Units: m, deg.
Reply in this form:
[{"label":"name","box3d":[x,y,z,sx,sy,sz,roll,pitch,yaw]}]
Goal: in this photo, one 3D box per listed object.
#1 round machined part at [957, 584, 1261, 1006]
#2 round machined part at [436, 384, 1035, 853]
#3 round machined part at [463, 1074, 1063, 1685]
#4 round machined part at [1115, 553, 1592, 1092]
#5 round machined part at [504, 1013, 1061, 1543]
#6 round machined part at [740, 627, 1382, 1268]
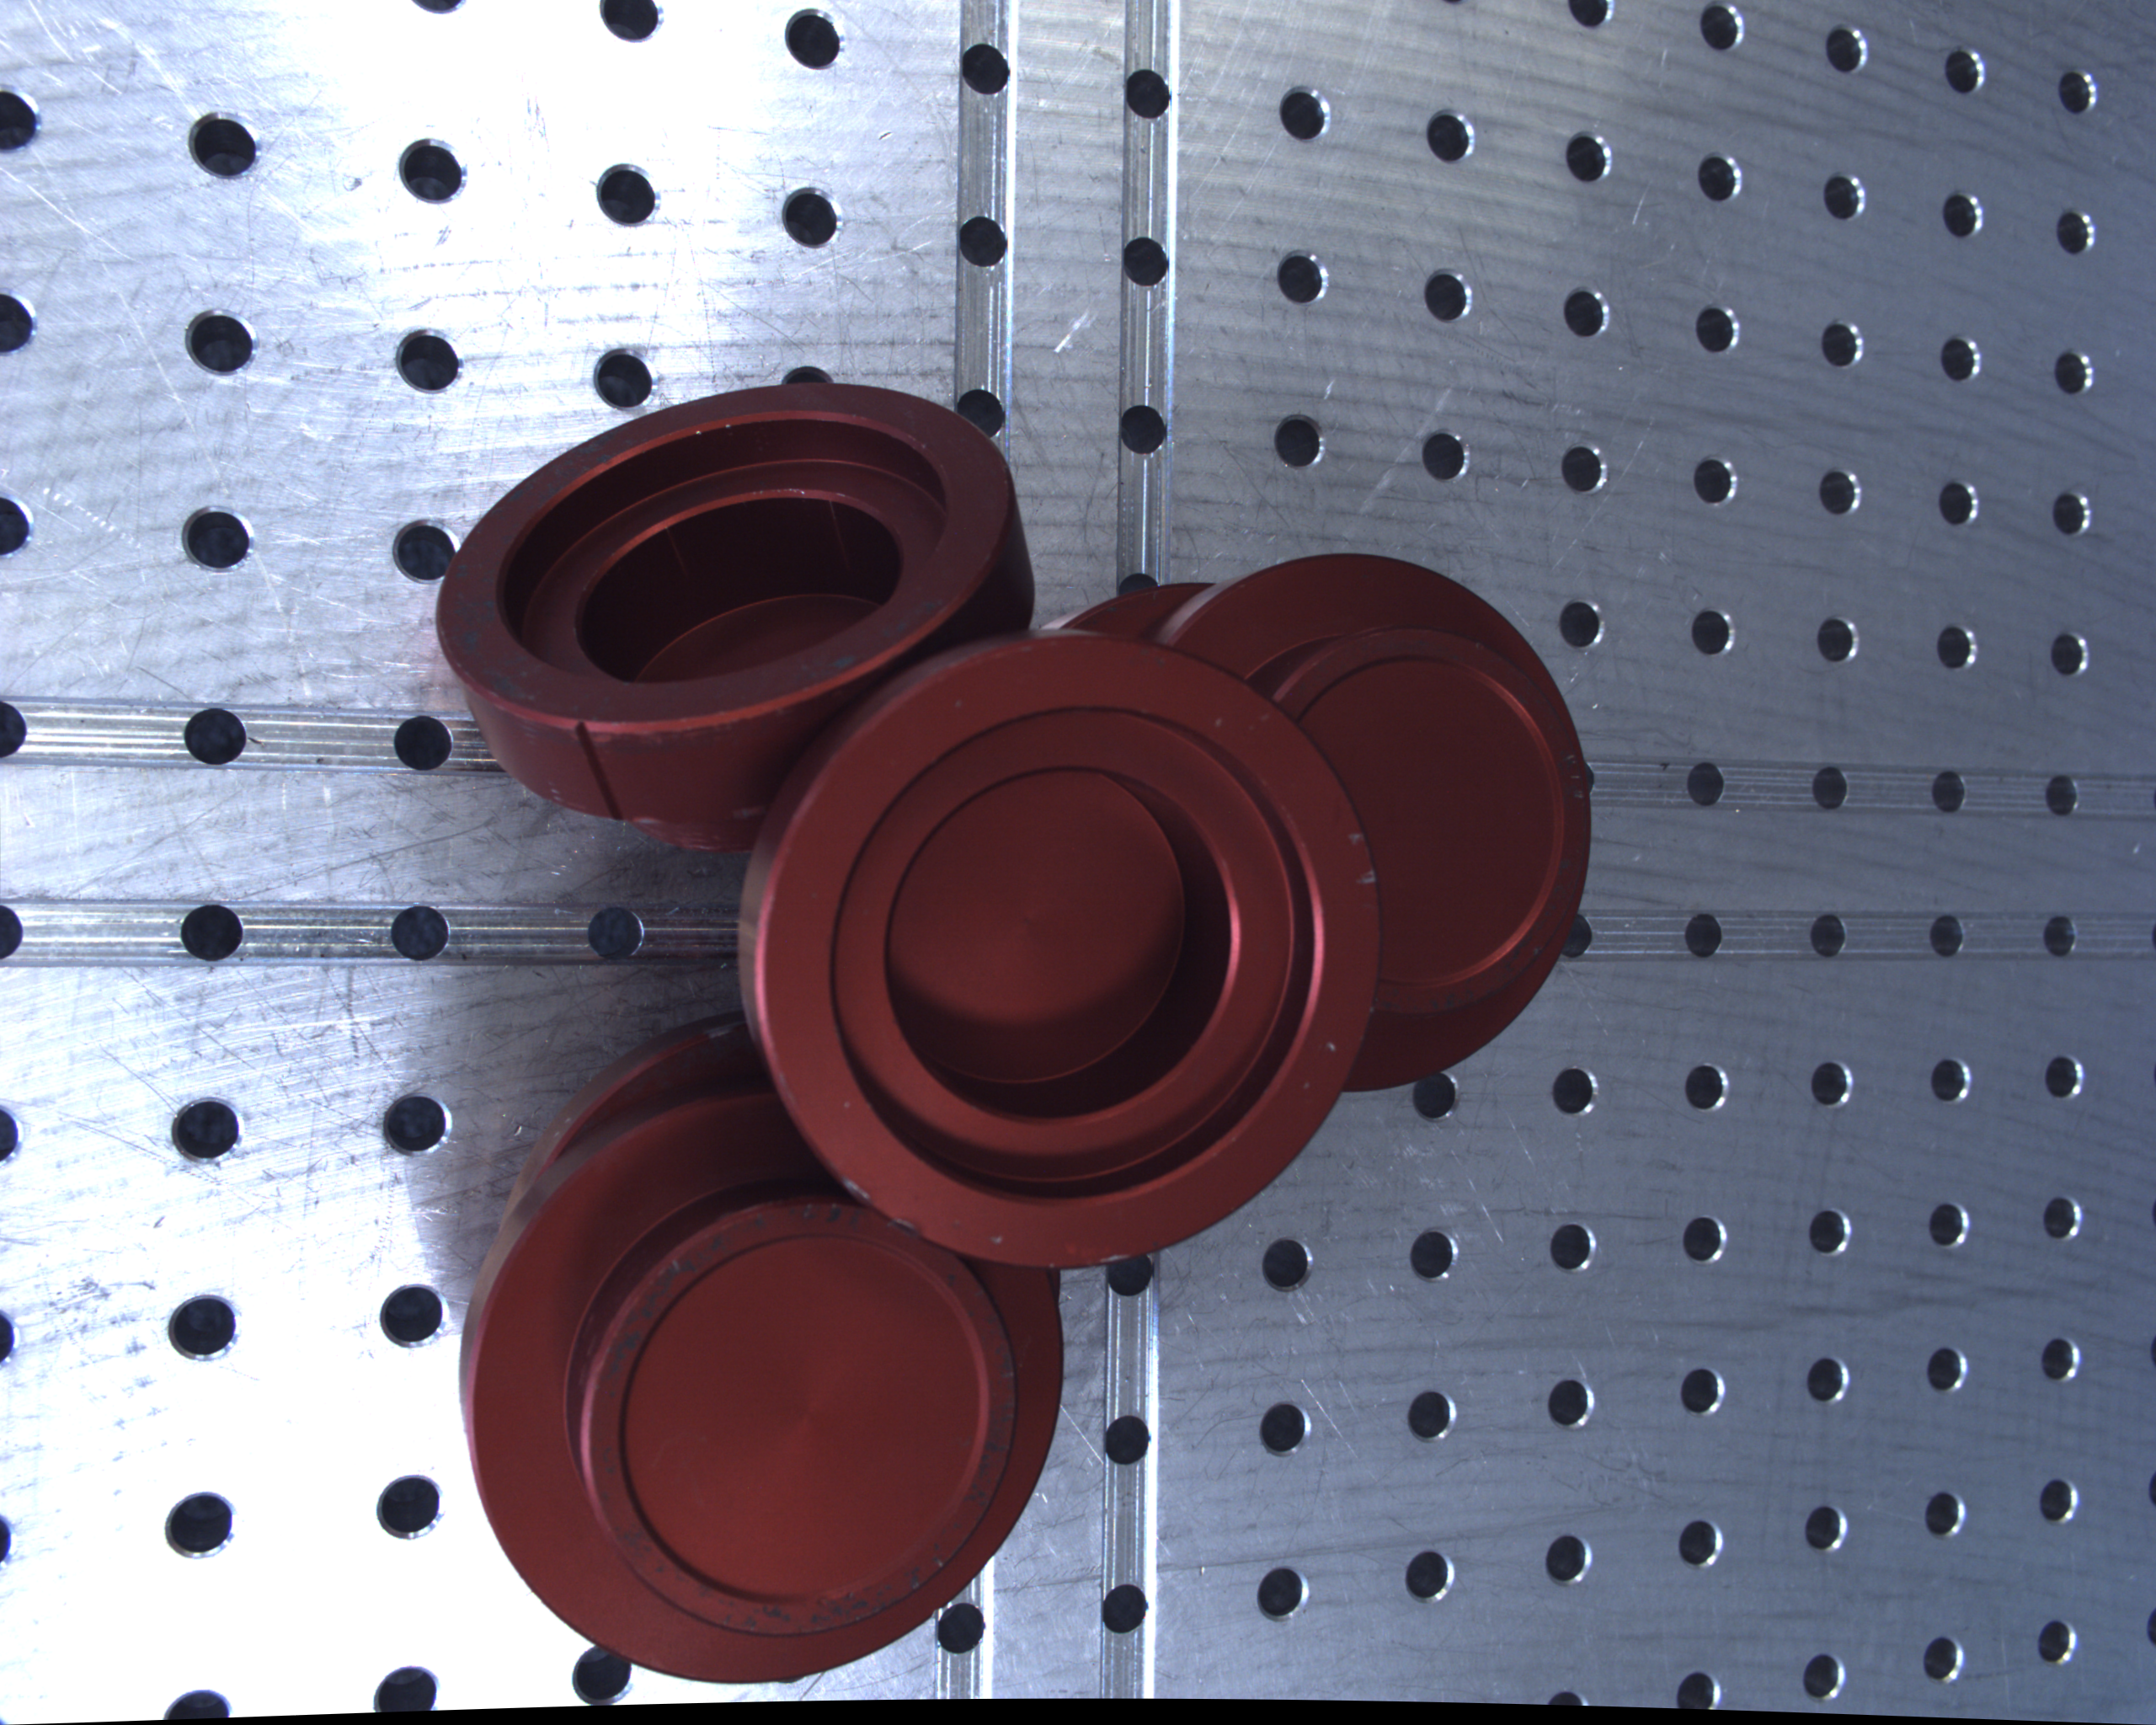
[{"label":"round machined part","box3d":[0.023,-0.003,0.390,0.099,0.042,0.097,0,90,-20]},{"label":"round machined part","box3d":[-0.056,-0.039,0.362,0.099,0.098,0.042,-29,135,-18]},{"label":"round machined part","box3d":[-0.048,0.085,0.340,0.099,0.042,0.097,0,90,-20]},{"label":"round machined part","box3d":[0.051,-0.007,0.376,0.099,0.042,0.097,0,89,-20]},{"label":"round machined part","box3d":[-0.049,0.075,0.363,0.099,0.042,0.097,0,90,-20]},{"label":"round machined part","box3d":[-0.005,0.011,0.333,0.099,0.042,0.097,-3,99,-17]}]
